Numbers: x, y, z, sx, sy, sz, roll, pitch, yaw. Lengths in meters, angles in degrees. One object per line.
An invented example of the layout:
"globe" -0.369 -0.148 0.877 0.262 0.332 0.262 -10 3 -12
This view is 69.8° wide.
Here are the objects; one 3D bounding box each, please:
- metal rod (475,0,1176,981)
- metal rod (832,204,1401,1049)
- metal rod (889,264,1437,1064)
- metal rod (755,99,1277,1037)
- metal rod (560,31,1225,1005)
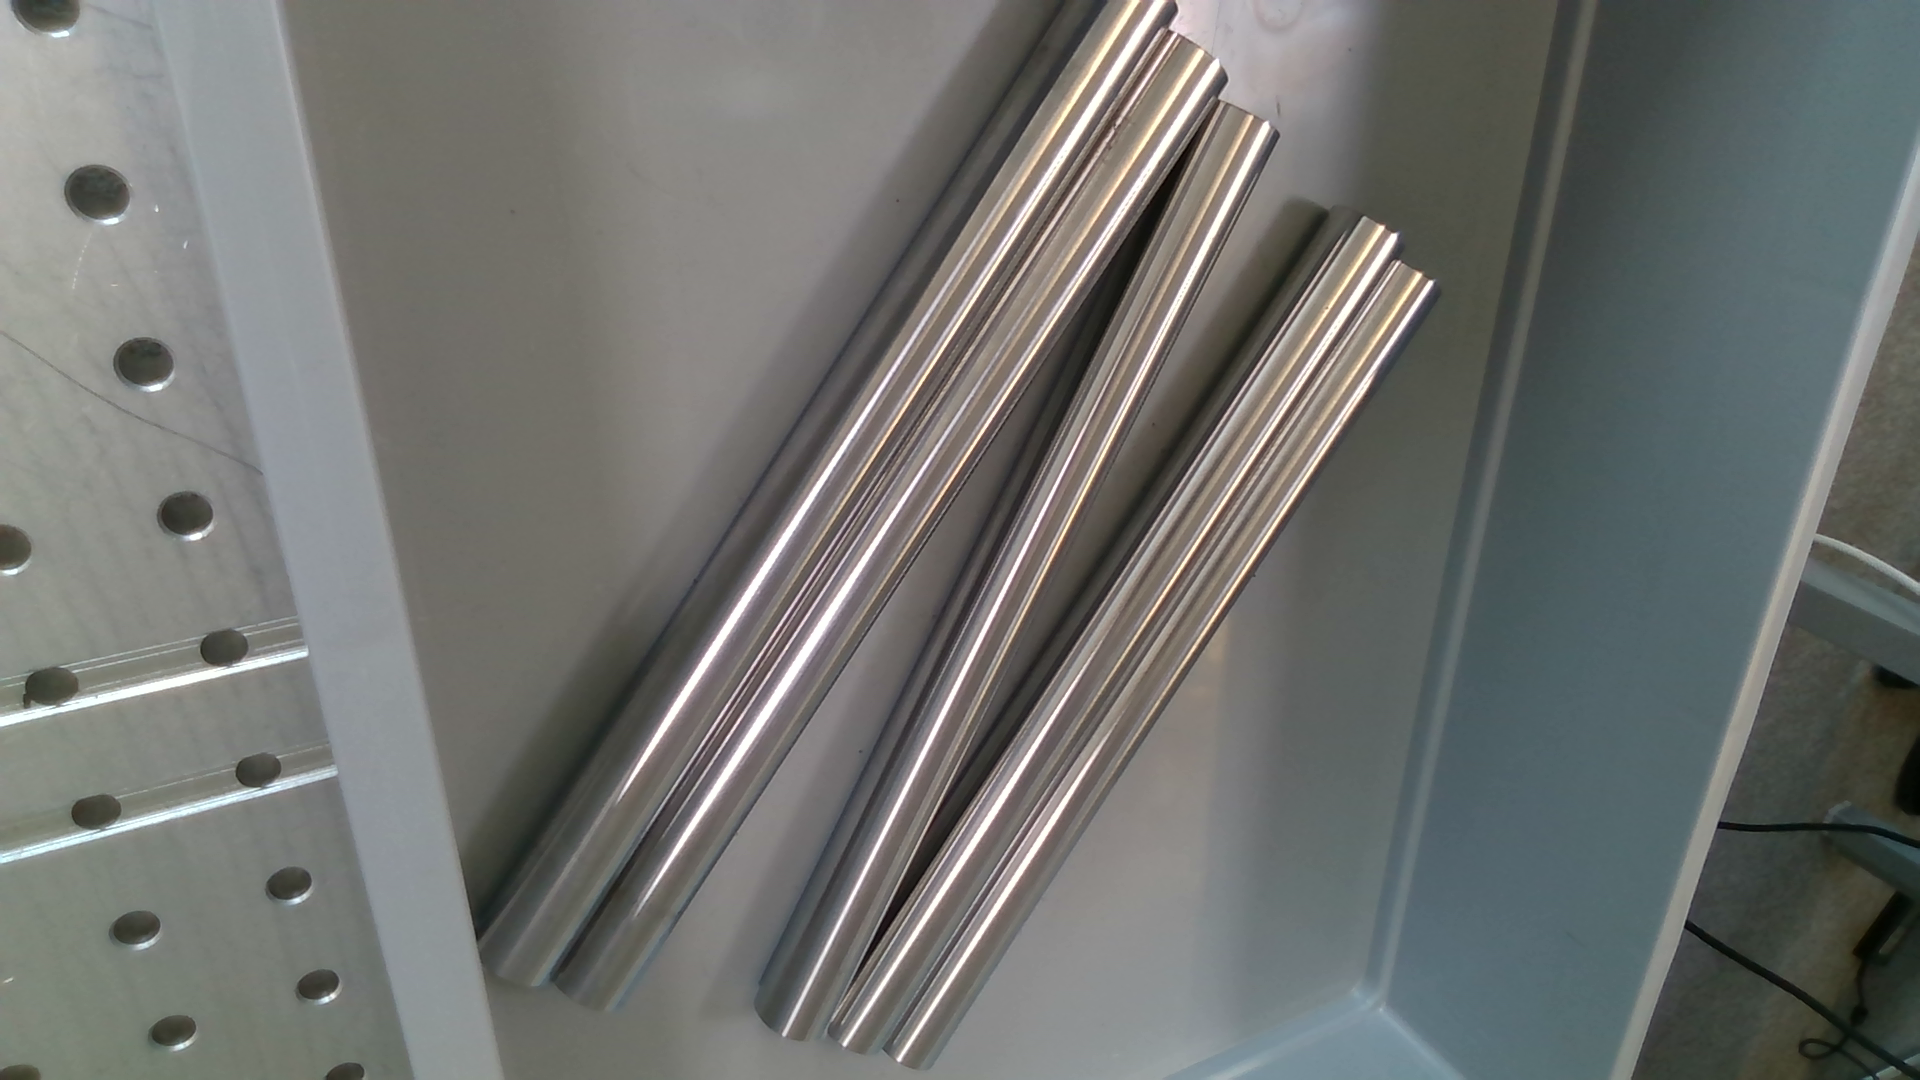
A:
"metal rod" -0.039 -0.013 0.358 0.025 0.025 0.300 28 98 -39
"metal rod" 0.042 0.032 0.432 0.025 0.025 0.300 26 100 -38
"metal rod" 0.059 0.043 0.448 0.025 0.025 0.300 26 100 -38
"metal rod" 0.011 0.017 0.405 0.025 0.025 0.300 16 105 -37
"metal rod" -0.024 -0.001 0.374 0.025 0.025 0.300 28 98 -39
